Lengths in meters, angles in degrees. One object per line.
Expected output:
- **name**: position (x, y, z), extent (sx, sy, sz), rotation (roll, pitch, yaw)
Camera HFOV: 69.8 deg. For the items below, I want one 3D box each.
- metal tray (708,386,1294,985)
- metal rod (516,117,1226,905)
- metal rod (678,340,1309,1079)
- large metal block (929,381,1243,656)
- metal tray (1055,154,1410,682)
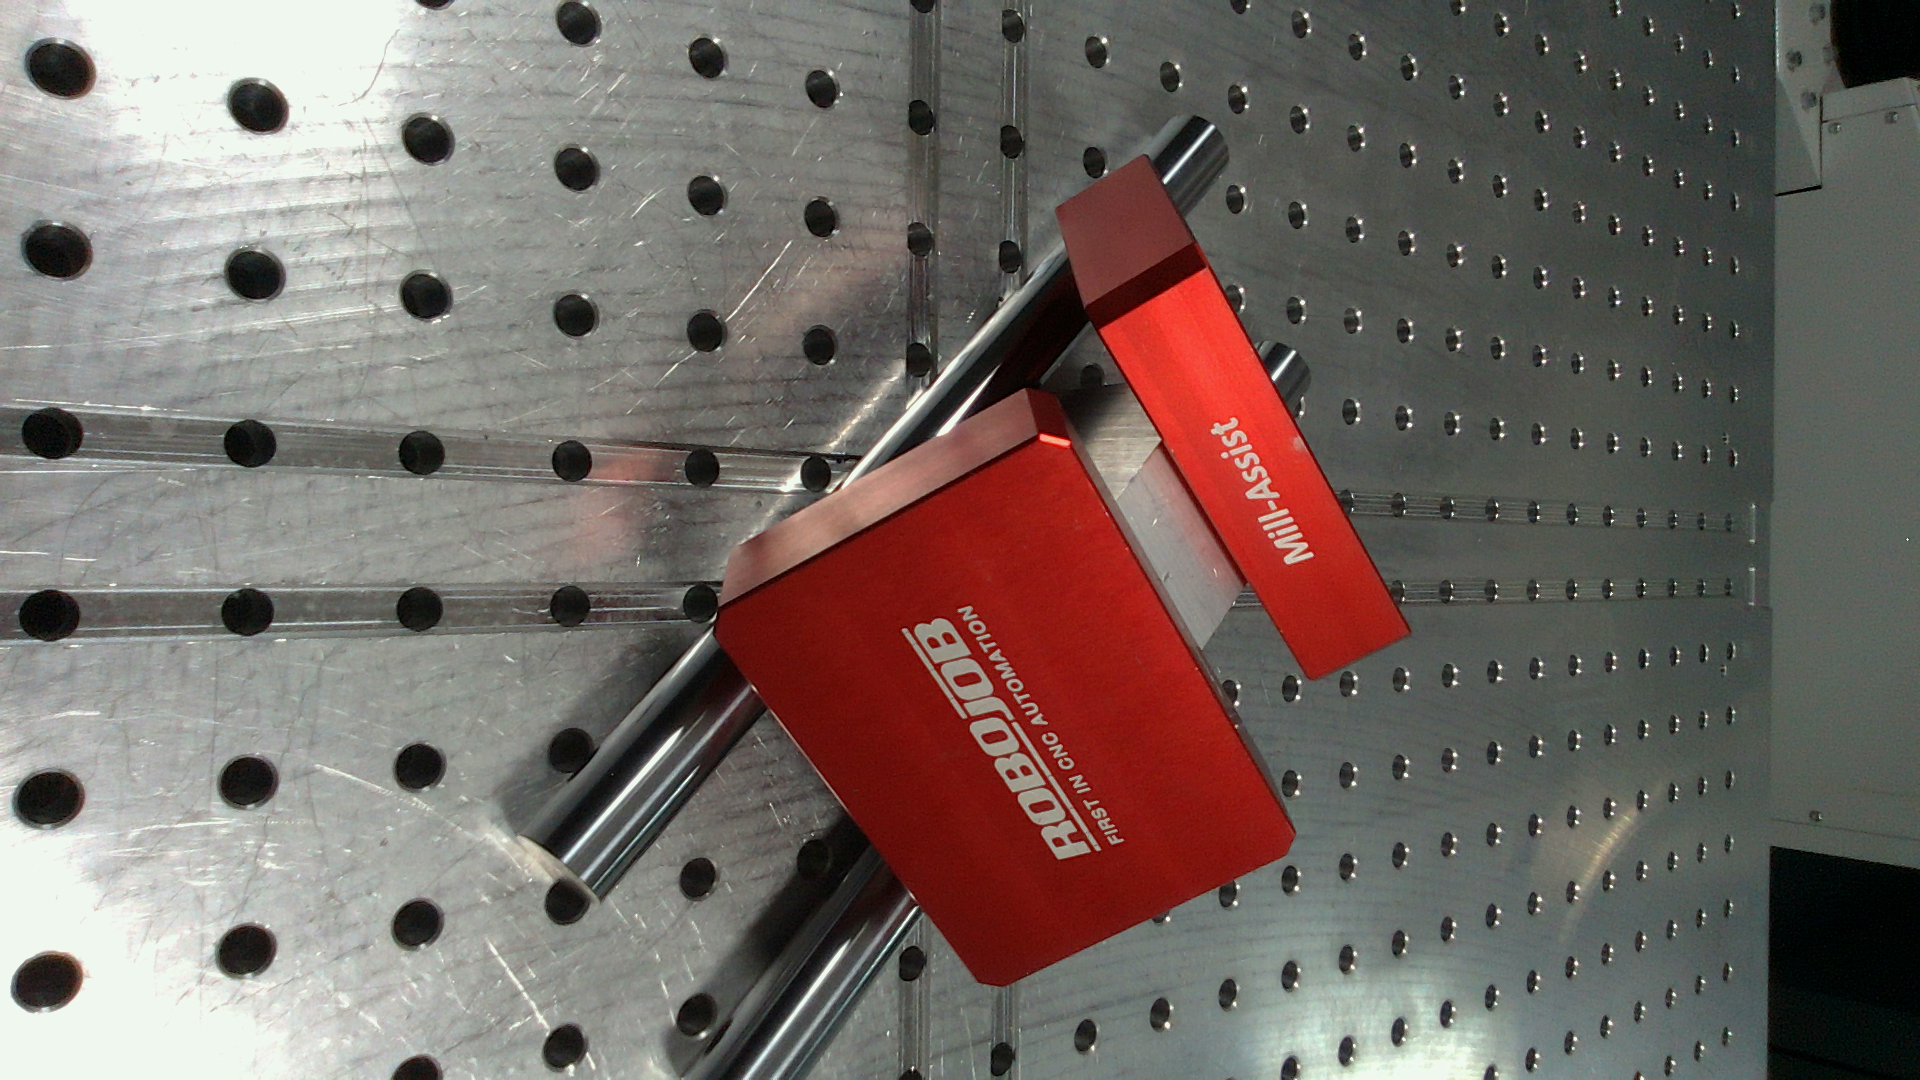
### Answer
- **metal tray**: position (0.013, 0.040, 0.332), extent (0.090, 0.030, 0.130), rotation (-28, 115, 10)
- **metal rod**: position (-0.008, -0.027, 0.386), extent (0.301, 0.025, 0.025), rotation (-50, 120, -28)
- **metal rod**: position (0.026, 0.040, 0.413), extent (0.301, 0.025, 0.025), rotation (-50, 119, -28)
- **large metal block**: position (0.032, 0.000, 0.382), extent (0.080, 0.080, 0.050), rotation (-50, 119, -28)
- **metal tray**: position (0.075, -0.035, 0.384), extent (0.130, 0.030, 0.090), rotation (54, 15, -26)
